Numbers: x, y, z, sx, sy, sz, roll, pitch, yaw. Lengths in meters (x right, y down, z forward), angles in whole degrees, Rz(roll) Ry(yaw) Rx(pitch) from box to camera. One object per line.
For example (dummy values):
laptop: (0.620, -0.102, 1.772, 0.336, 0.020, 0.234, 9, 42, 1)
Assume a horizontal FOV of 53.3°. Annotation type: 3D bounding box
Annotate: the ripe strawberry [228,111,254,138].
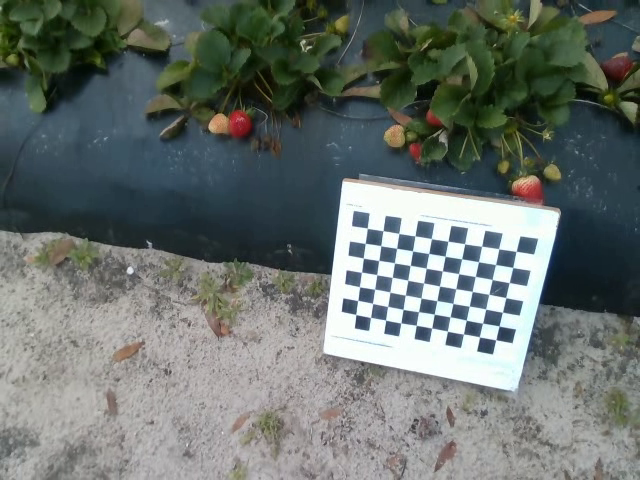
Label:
ripe strawberry: (-0.110, -0.154, 0.837, 0.042, 0.034, 0.033, -52, 2, -39)
